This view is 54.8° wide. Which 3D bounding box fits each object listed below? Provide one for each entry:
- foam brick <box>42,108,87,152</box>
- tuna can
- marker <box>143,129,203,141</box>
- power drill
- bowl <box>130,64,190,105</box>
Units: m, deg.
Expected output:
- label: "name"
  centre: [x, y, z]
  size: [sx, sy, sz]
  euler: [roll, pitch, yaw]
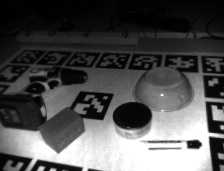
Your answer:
- label: "foam brick"
  centre: [-0.102, 0.094, 0.476]
  size: [0.051, 0.053, 0.078]
  euler: [21, 47, 30]
- label: "tuna can"
  centre: [0.051, 0.062, 0.495]
  size: [0.085, 0.034, 0.085]
  euler: [-2, 38, 3]
- label: "marker"
  centre: [0.124, 0.102, 0.442]
  size: [0.121, 0.020, 0.019]
  euler: [-4, 39, 4]
- label: "power drill"
  centre: [-0.192, 0.017, 0.582]
  size: [0.184, 0.058, 0.187]
  euler: [4, 37, 9]
- label: "bowl"
  centre: [0.126, -0.016, 0.583]
  size: [0.161, 0.055, 0.161]
  euler: [-6, 30, 4]
